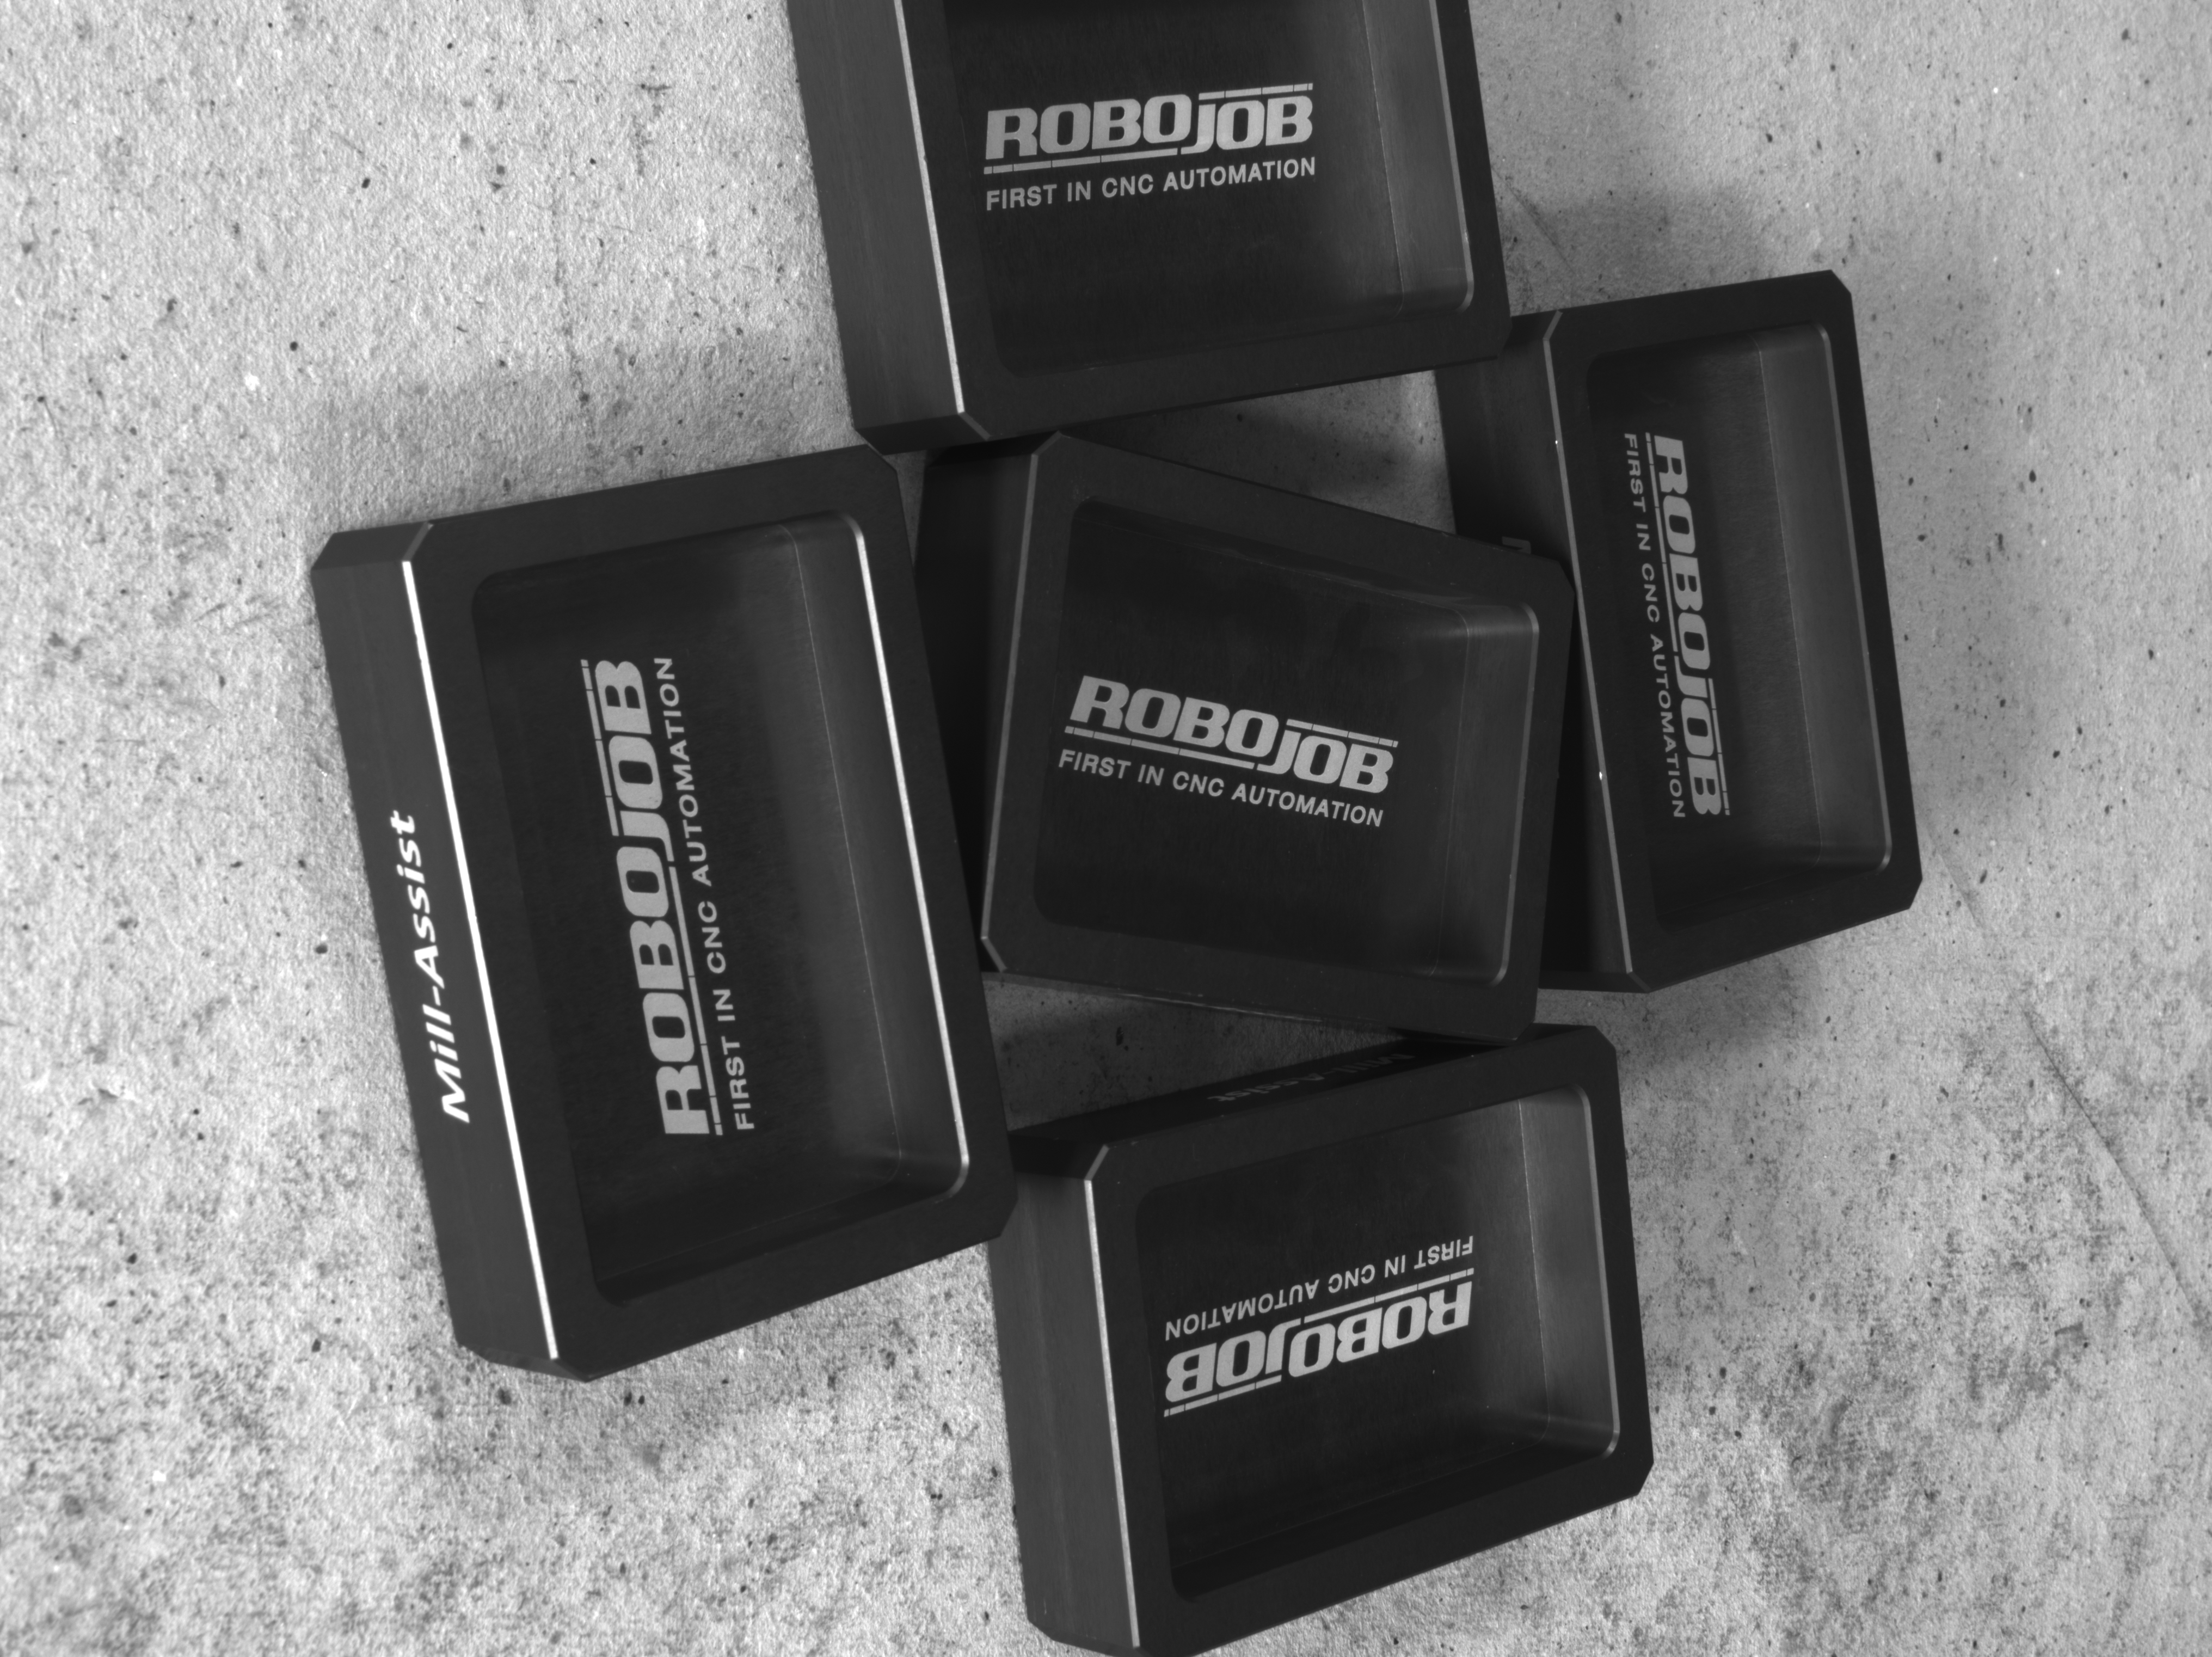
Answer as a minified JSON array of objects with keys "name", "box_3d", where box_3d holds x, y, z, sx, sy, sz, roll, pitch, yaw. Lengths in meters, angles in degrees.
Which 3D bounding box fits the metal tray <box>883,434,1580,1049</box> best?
[{"name":"metal tray","box_3d":[0.024,-0.013,0.653,0.130,0.030,0.090,10,85,-39]}]

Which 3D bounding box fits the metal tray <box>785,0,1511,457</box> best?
[{"name":"metal tray","box_3d":[0.010,-0.118,0.642,0.130,0.030,0.090,-14,99,-38]}]

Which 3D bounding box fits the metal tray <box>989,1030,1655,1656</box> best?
[{"name":"metal tray","box_3d":[0.041,0.091,0.667,0.130,0.030,0.090,-9,96,-39]}]

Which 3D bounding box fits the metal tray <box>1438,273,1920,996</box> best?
[{"name":"metal tray","box_3d":[0.114,-0.039,0.729,0.090,0.030,0.130,-14,99,-38]}]

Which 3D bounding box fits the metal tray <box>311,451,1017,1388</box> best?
[{"name":"metal tray","box_3d":[-0.067,0.012,0.578,0.090,0.030,0.130,-15,100,-38]}]
